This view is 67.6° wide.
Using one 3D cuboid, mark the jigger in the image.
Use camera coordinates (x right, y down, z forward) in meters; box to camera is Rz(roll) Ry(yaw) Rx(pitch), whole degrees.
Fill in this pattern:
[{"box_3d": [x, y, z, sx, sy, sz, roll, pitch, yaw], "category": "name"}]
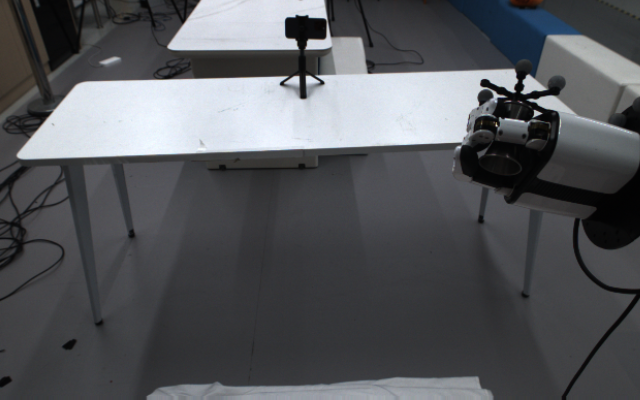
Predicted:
[{"box_3d": [0.200, -0.068, 0.514, 0.043, 0.043, 0.071, 15, 70, 18], "category": "jigger"}]
